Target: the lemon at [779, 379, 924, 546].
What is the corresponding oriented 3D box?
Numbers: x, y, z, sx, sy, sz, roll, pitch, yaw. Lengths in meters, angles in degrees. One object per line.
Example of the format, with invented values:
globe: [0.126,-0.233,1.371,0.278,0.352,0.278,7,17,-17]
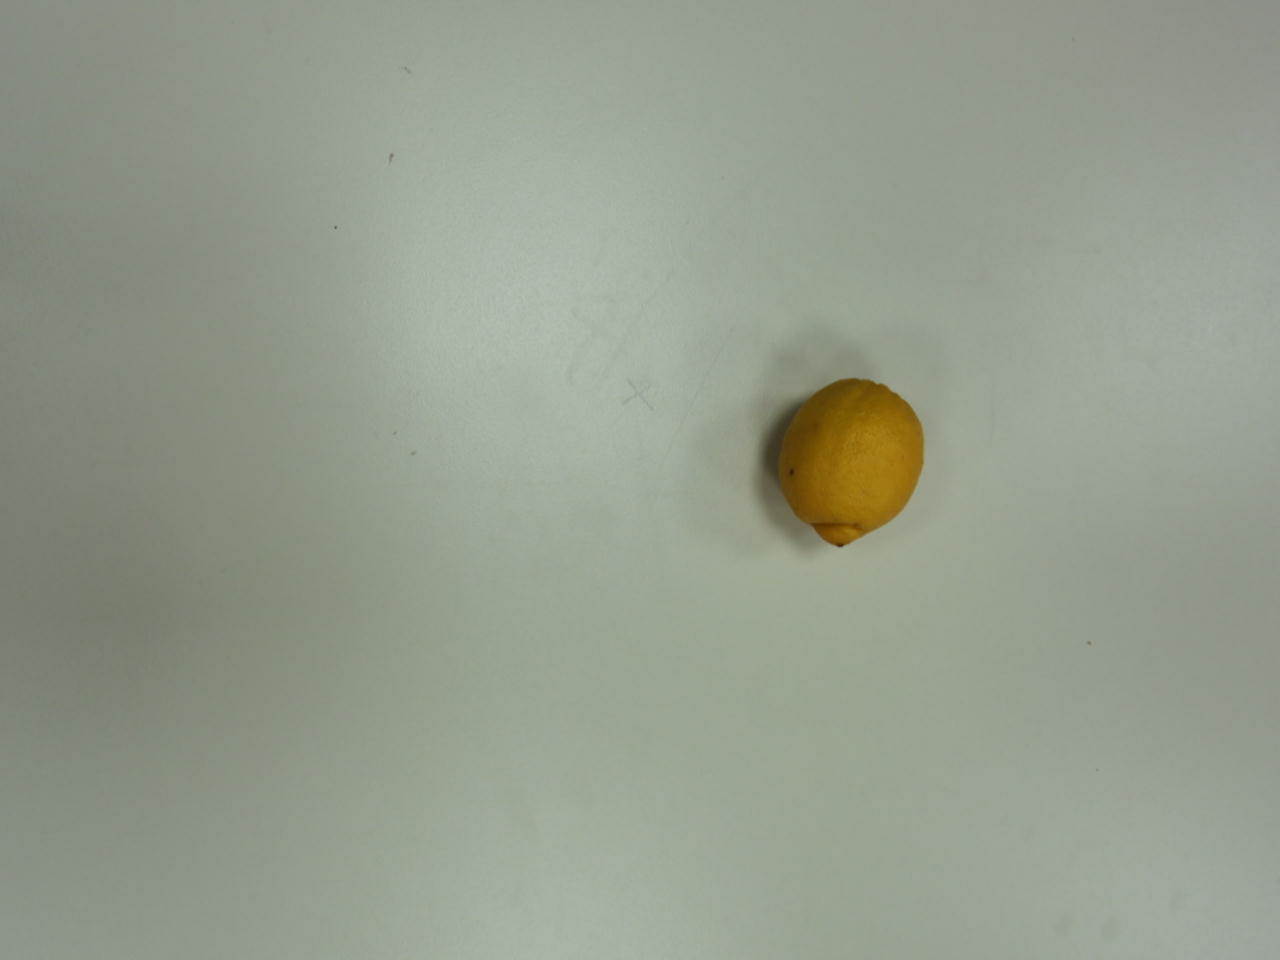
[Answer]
lemon: [0.090,-0.009,0.429,0.061,0.059,0.067,43,82,-9]
